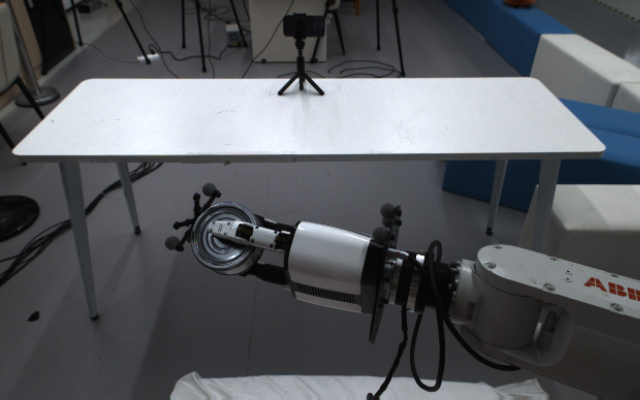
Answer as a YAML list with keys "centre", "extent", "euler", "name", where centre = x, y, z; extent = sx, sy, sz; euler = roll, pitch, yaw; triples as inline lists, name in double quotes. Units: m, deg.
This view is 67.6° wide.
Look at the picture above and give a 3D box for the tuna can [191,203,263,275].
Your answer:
- centre: [-0.108, 0.050, 0.584]
  extent: [0.085, 0.034, 0.085]
  euler: [-2, 71, 6]
  name: "tuna can"
